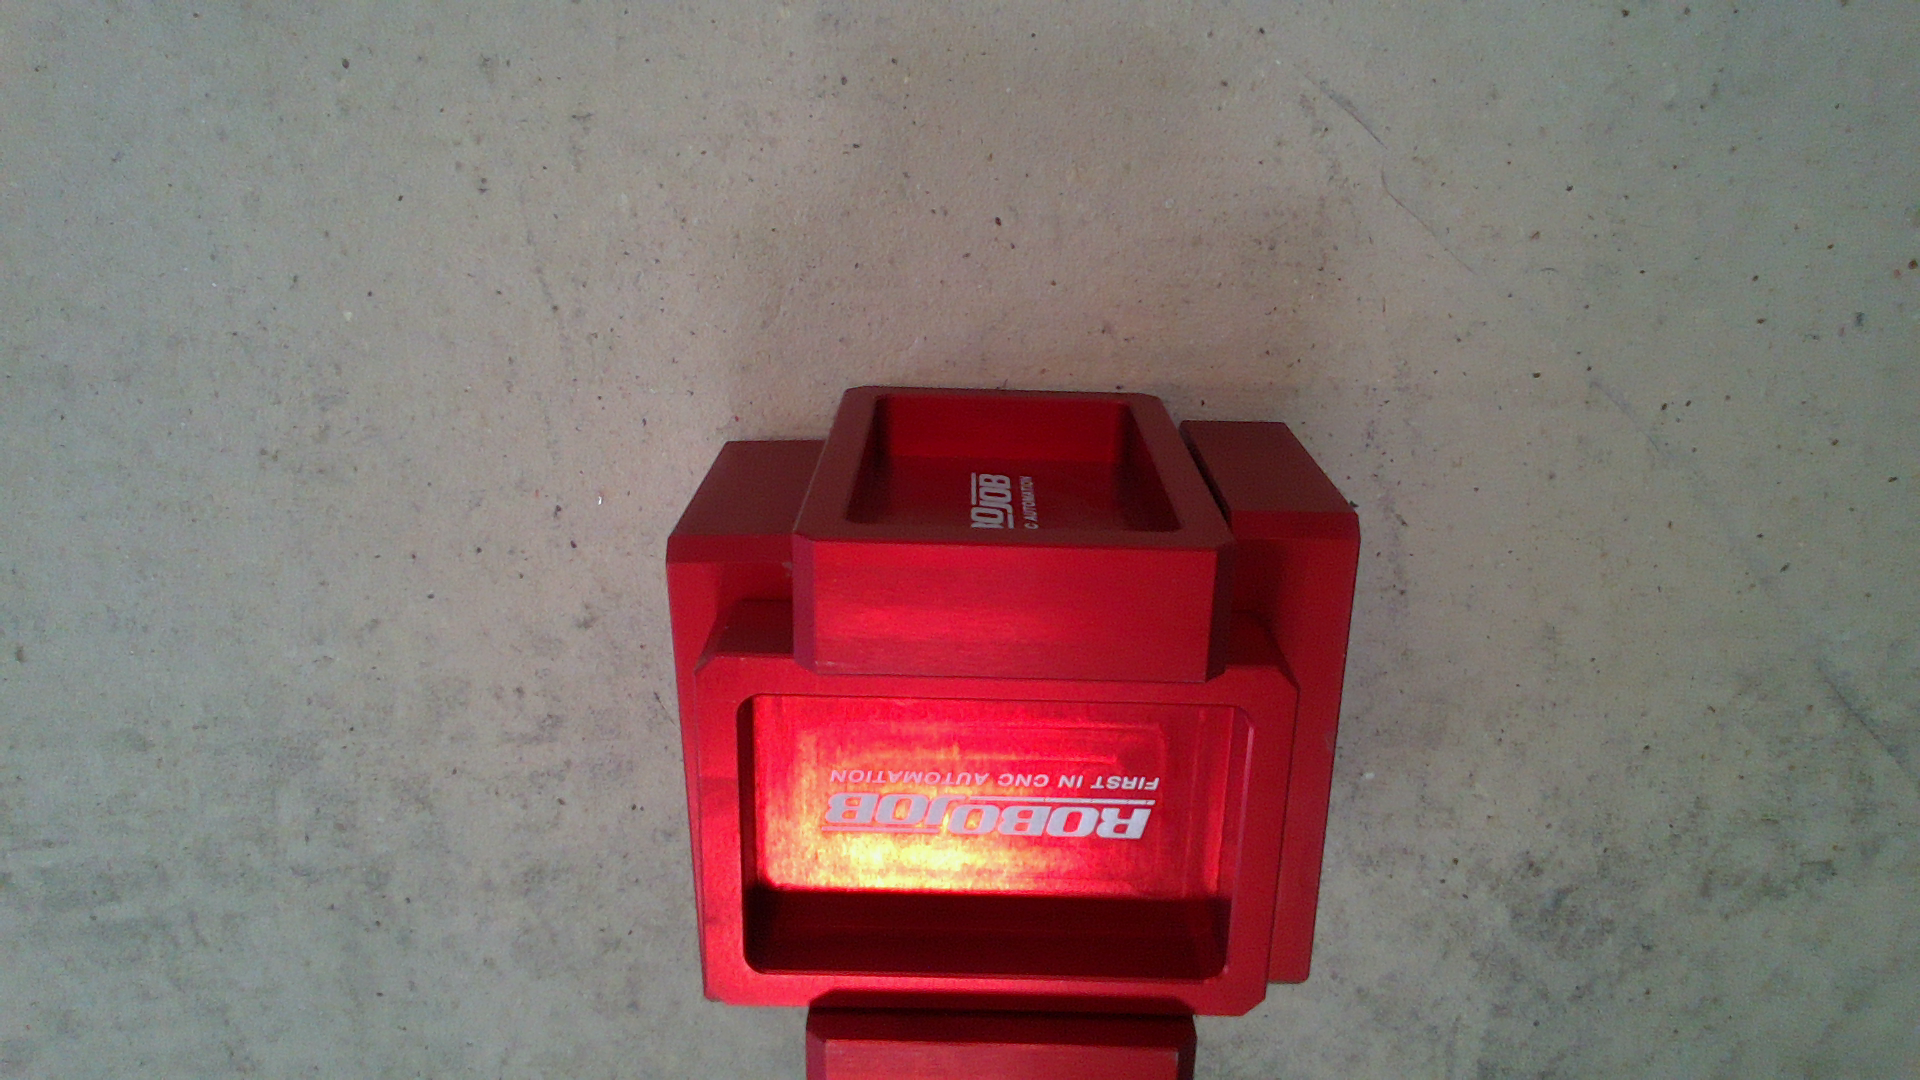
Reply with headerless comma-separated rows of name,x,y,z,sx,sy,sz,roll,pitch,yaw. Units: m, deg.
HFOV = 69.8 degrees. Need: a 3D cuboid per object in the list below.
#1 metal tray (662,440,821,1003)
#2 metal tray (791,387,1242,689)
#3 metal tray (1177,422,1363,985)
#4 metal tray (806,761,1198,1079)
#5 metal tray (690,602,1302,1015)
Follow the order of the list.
metal tray,-0.052,0.046,0.376,0.030,0.090,0.130,-1,110,0
metal tray,0.011,-0.007,0.335,0.090,0.130,0.030,2,110,-1
metal tray,0.076,0.041,0.375,0.030,0.090,0.130,2,109,0
metal tray,0.010,0.106,0.377,0.090,0.130,0.030,1,111,0
metal tray,0.007,0.063,0.319,0.130,0.030,0.090,1,111,-1
